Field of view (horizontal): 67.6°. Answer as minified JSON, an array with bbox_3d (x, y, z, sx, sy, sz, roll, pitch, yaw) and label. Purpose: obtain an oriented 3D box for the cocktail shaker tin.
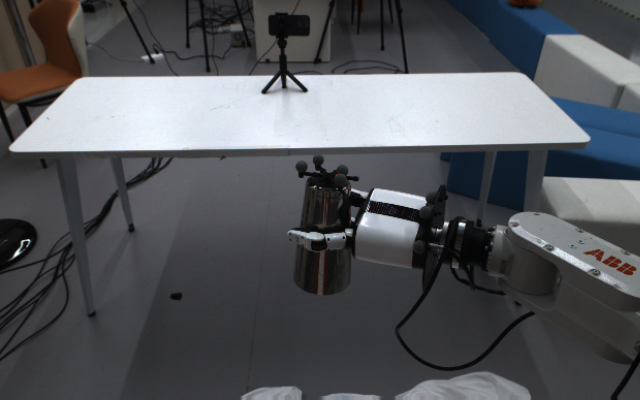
[{"bbox_3d":[0.008,0.048,0.741,0.093,0.170,0.093,3,26,-1],"label":"cocktail shaker tin"}]
